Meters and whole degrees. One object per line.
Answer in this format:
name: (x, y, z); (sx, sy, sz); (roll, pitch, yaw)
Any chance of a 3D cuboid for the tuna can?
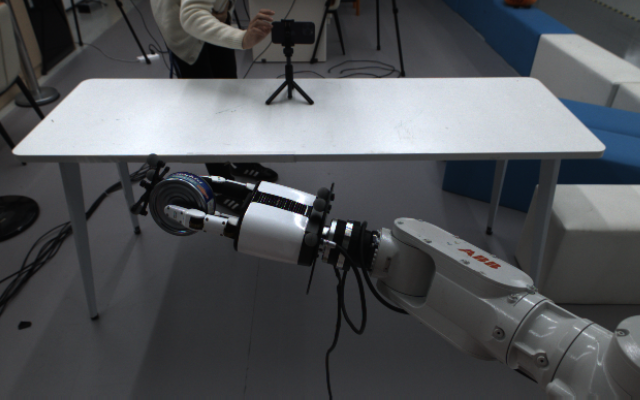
tuna can: (-0.188, 0.005, 0.667); (0.085, 0.085, 0.034); (6, 20, 6)
